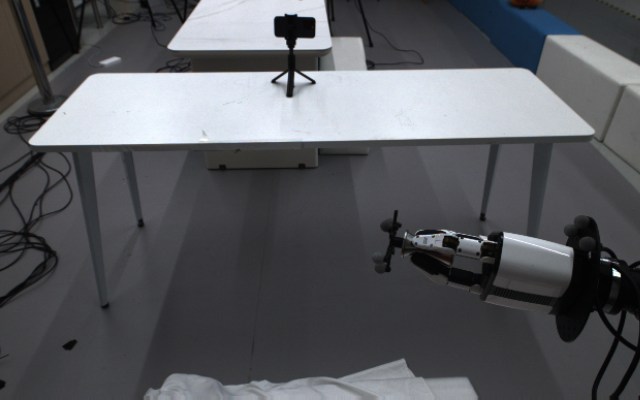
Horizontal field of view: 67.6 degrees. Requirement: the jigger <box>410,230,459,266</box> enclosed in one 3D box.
[{"bbox_3d":[0.155,0.062,0.660,0.071,0.043,0.043,10,35,15],"label":"jigger"}]
